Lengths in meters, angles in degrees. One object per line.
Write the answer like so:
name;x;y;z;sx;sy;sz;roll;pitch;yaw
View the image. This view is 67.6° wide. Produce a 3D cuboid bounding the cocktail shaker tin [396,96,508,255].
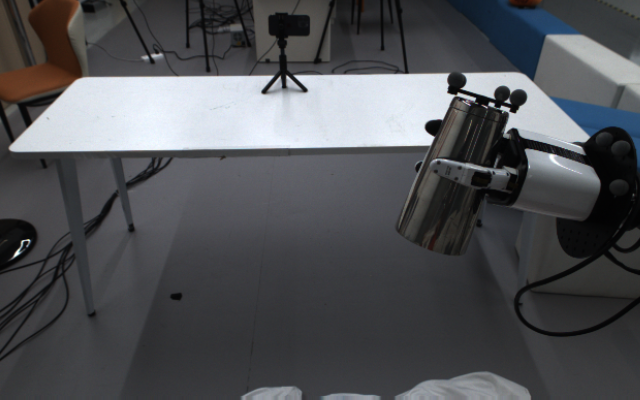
cocktail shaker tin;0.161;-0.031;0.577;0.093;0.170;0.093;15;17;-5
